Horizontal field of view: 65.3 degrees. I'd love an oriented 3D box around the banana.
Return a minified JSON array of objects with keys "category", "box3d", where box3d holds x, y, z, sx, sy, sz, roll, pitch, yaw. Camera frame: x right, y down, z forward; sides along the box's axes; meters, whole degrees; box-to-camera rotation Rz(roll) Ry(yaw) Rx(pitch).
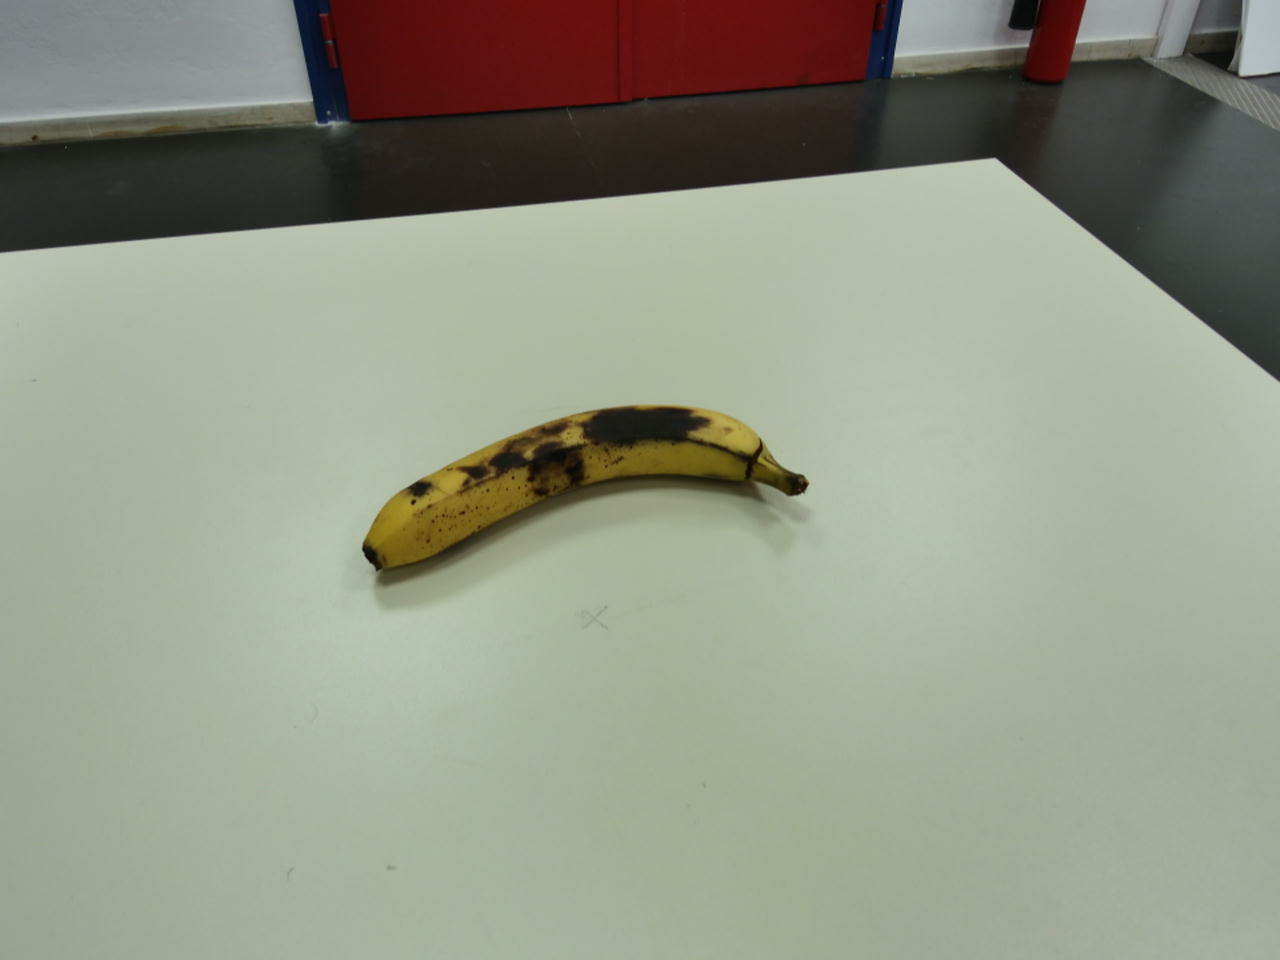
[{"category":"banana","box3d":[-0.031,-0.004,0.518,0.222,0.037,0.084,-8,40,-10]}]
